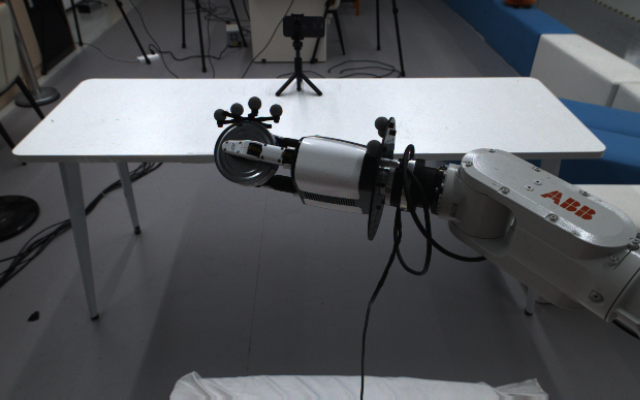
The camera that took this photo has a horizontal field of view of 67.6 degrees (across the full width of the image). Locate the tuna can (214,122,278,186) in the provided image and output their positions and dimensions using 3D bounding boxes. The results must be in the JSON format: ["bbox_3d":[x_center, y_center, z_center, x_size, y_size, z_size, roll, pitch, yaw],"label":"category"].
[{"bbox_3d":[-0.094,-0.061,0.657,0.085,0.085,0.034,10,-6,11],"label":"tuna can"}]
